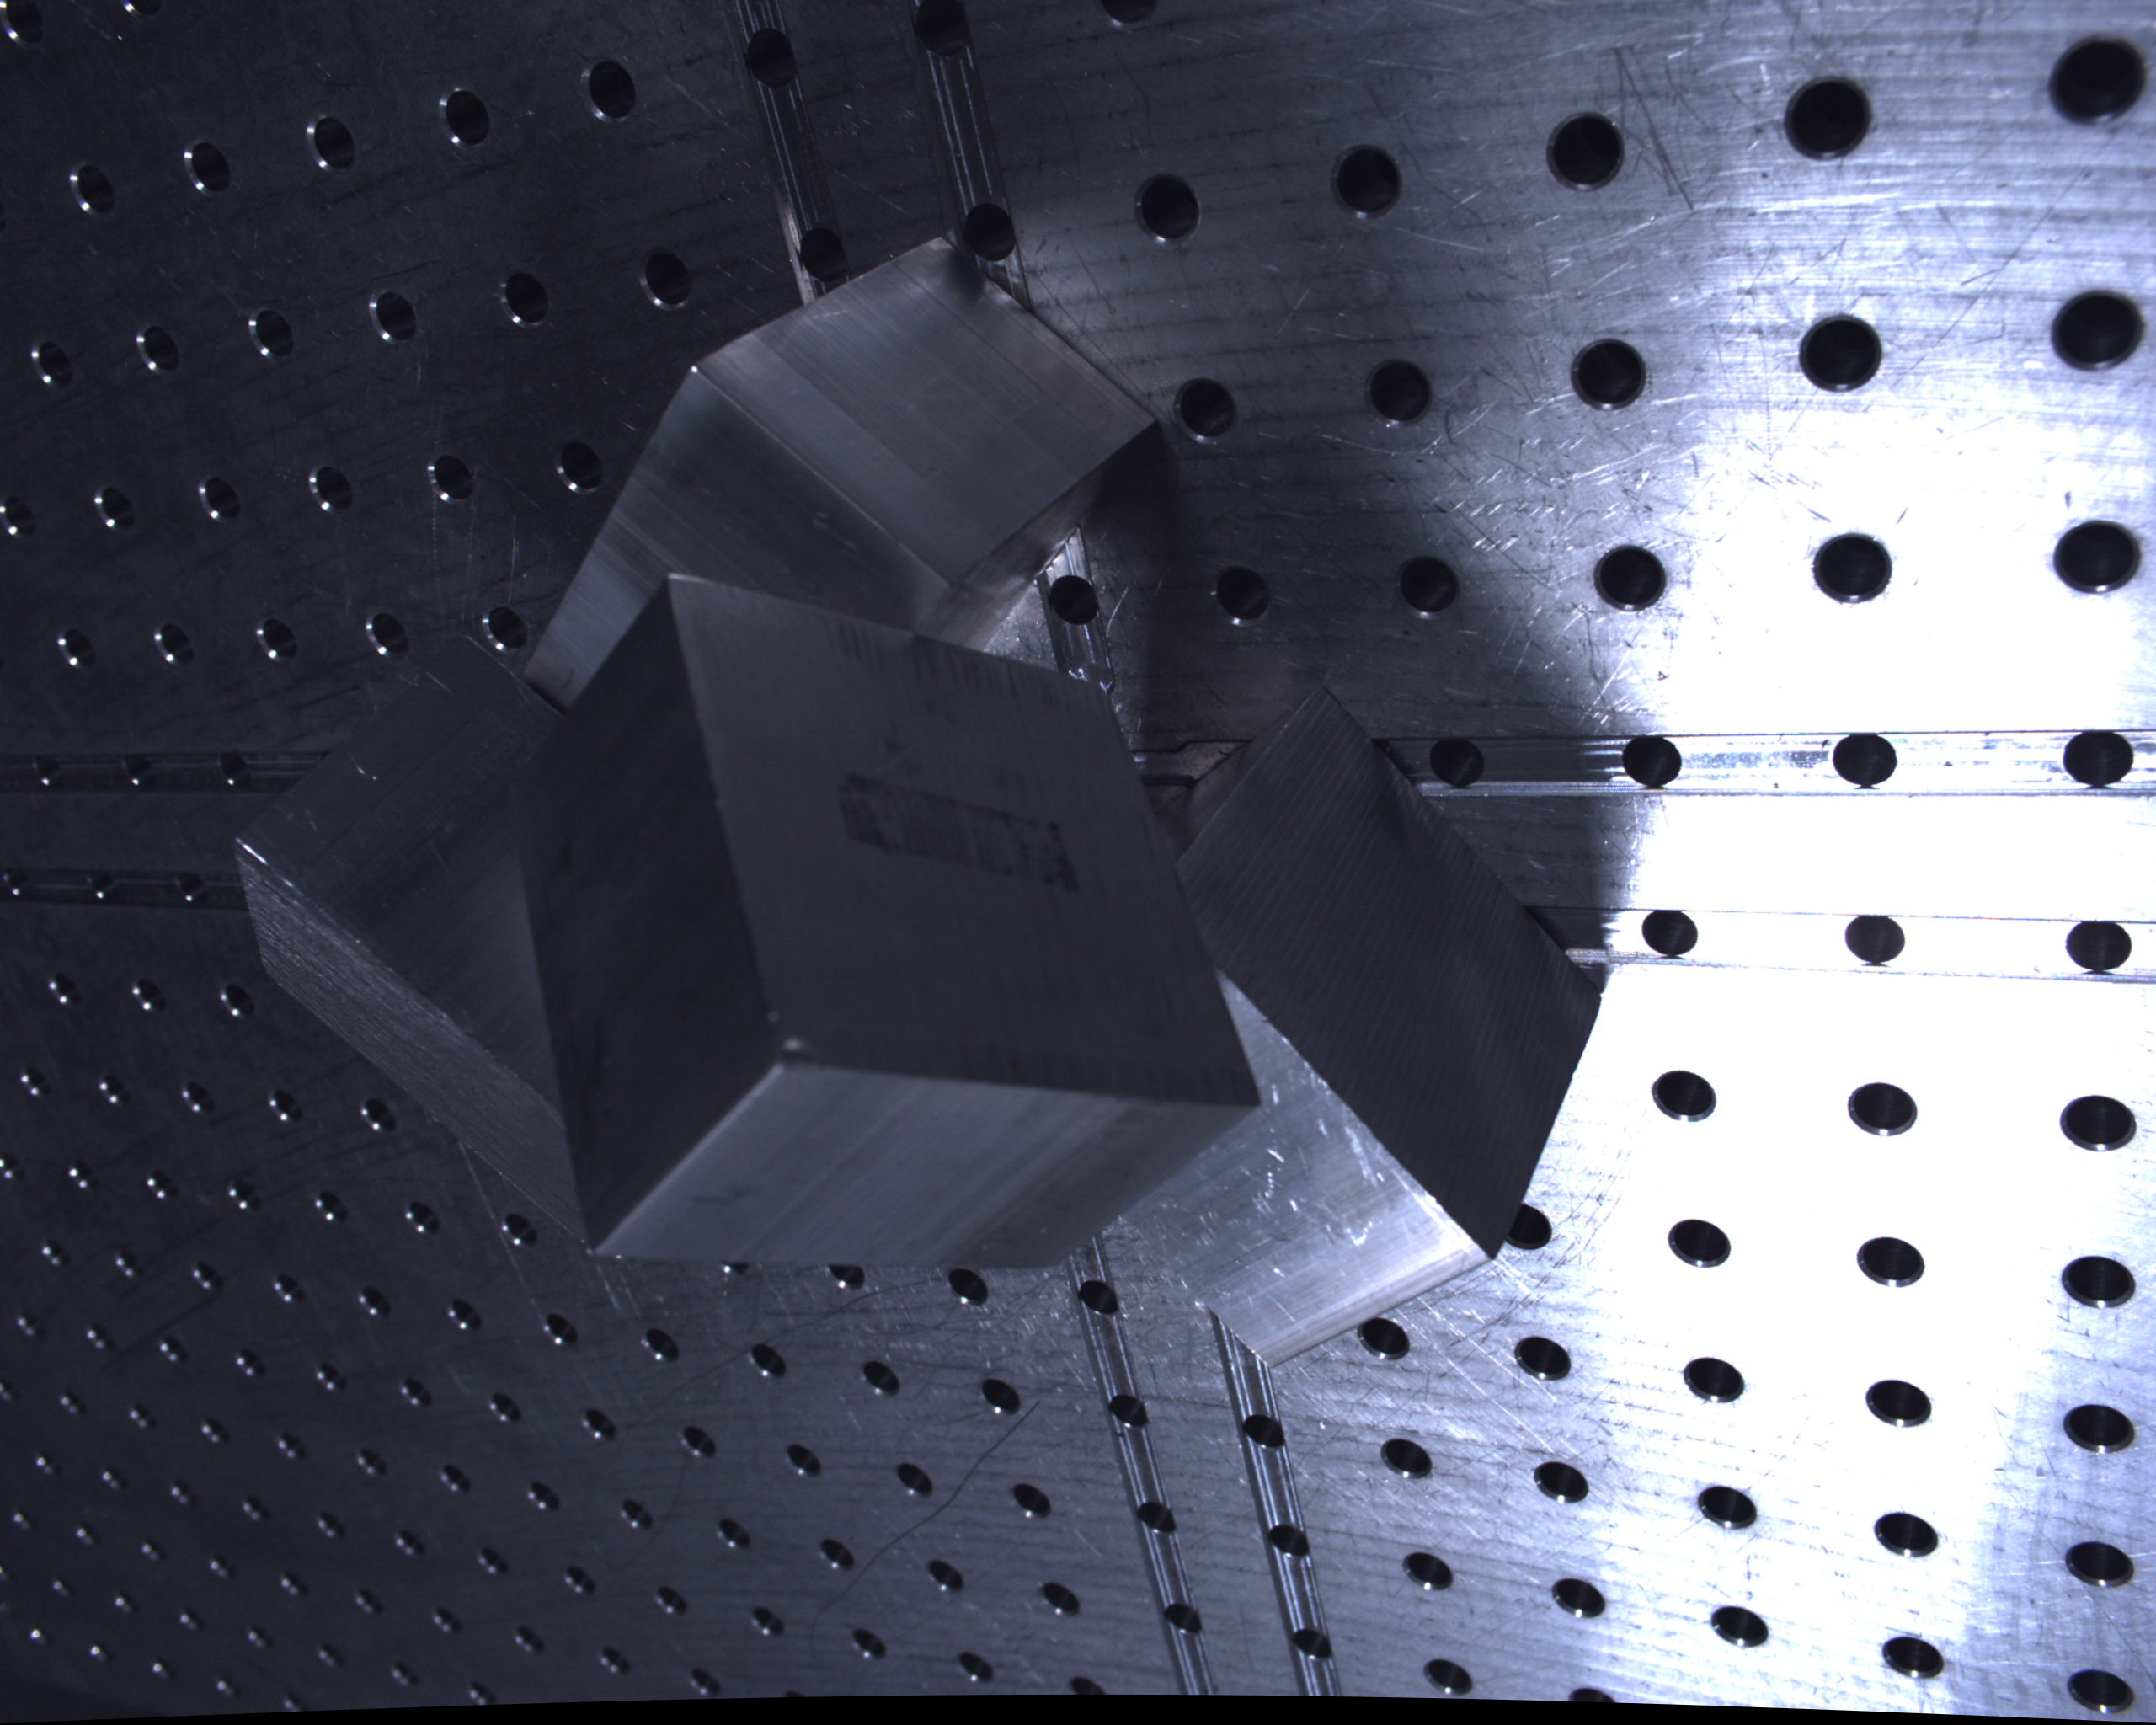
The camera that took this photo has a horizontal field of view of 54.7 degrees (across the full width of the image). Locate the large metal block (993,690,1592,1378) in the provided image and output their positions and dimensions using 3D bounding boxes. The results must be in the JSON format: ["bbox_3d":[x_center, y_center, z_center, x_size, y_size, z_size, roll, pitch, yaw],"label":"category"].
[{"bbox_3d":[0.037,0.029,0.371,0.080,0.080,0.050,47,129,-5],"label":"large metal block"}]

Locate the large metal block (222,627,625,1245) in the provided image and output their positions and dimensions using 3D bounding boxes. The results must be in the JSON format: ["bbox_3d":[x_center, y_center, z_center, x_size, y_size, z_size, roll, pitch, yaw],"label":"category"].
[{"bbox_3d":[-0.099,0.017,0.371,0.080,0.050,0.080,41,154,0],"label":"large metal block"}]

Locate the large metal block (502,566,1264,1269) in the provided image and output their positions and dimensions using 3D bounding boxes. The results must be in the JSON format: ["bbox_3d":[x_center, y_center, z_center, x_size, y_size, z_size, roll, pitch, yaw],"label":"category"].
[{"bbox_3d":[-0.030,0.011,0.306,0.050,0.081,0.080,-45,50,34],"label":"large metal block"}]

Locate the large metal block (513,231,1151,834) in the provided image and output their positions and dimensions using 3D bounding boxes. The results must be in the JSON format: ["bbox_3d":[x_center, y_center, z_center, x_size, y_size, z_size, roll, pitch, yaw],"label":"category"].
[{"bbox_3d":[-0.043,-0.053,0.362,0.050,0.080,0.080,41,129,0],"label":"large metal block"}]

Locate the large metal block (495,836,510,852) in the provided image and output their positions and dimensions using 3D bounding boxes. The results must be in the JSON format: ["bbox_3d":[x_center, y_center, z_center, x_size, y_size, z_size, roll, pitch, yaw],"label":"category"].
[{"bbox_3d":[-0.087,0.020,0.451,0.080,0.050,0.080,43,129,-2],"label":"large metal block"}]
